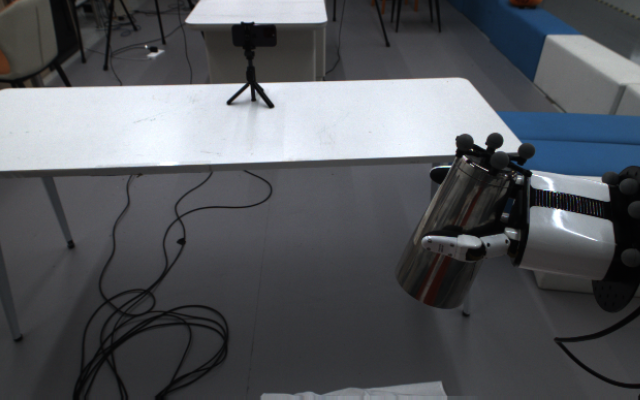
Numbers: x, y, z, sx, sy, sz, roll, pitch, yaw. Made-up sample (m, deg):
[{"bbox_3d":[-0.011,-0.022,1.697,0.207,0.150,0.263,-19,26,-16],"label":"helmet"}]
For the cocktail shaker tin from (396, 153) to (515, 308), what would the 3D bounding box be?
[{"bbox_3d":[0.161,0.029,0.558,0.093,0.170,0.093,12,29,-7],"label":"cocktail shaker tin"}]
